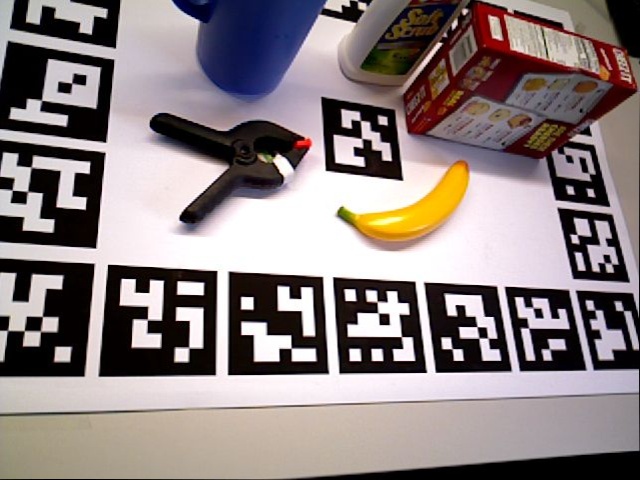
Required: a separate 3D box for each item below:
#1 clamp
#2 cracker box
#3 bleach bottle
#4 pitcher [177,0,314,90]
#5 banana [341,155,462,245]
[{"bbox_3d":[-0.088,-0.084,0.571,0.162,0.037,0.121,-13,73,-27],"label":"clamp"},{"bbox_3d":[0.237,-0.183,0.648,0.211,0.168,0.071,5,63,-18],"label":"cracker box"},{"bbox_3d":[0.098,-0.273,0.598,0.101,0.256,0.067,4,66,-20],"label":"bleach bottle"},{"bbox_3d":[-0.065,-0.255,0.504,0.185,0.248,0.133,-15,74,-29],"label":"pitcher"},{"bbox_3d":[0.115,-0.044,0.643,0.193,0.039,0.074,-33,83,-29],"label":"banana"}]
